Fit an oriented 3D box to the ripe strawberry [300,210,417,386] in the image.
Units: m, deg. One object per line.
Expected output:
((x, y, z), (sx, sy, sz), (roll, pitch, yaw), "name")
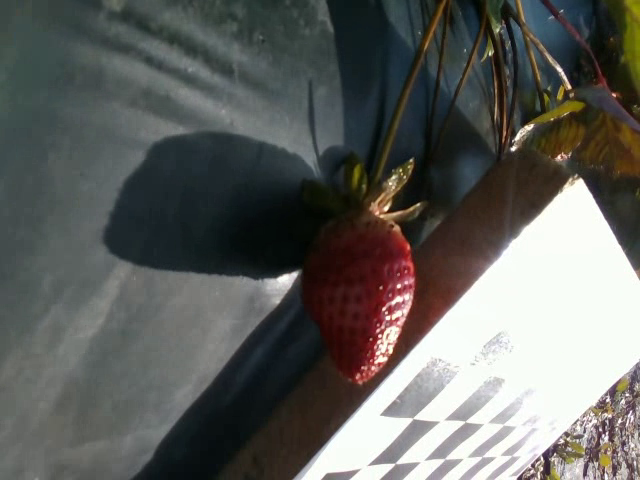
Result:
((0.007, 0.013, 0.120), (0.033, 0.038, 0.034), (-15, -23, 32), "ripe strawberry")
